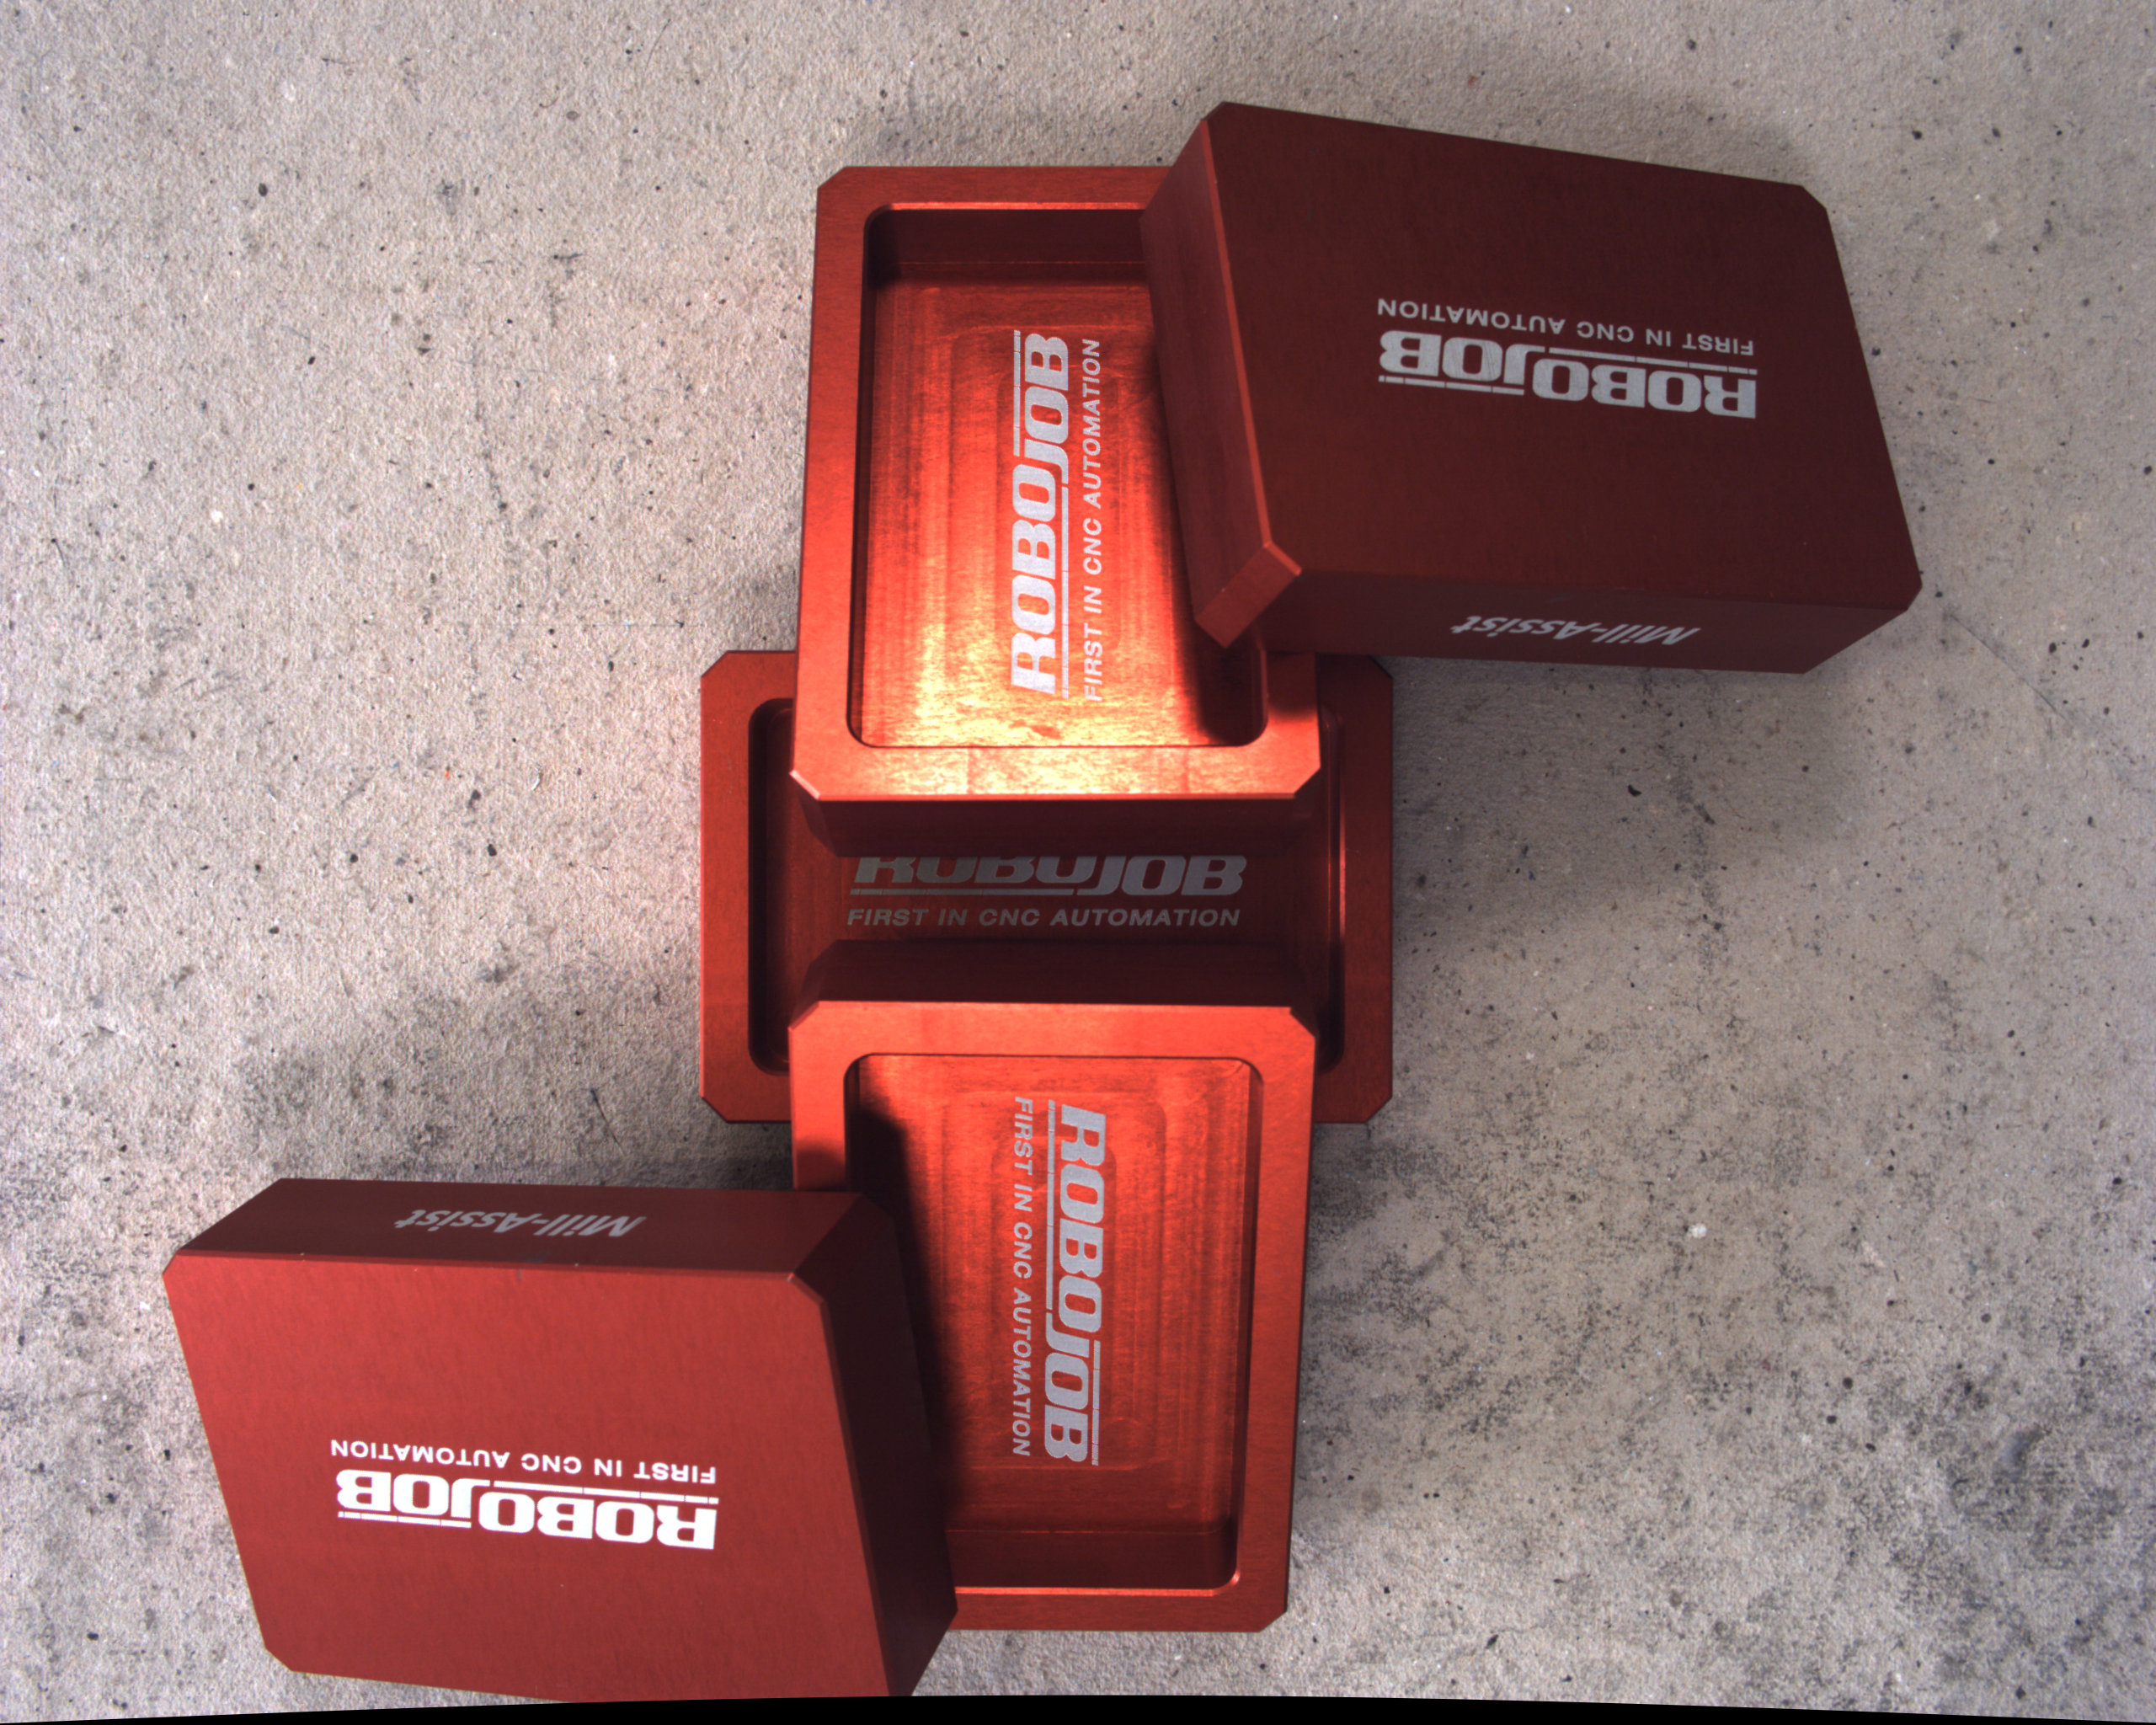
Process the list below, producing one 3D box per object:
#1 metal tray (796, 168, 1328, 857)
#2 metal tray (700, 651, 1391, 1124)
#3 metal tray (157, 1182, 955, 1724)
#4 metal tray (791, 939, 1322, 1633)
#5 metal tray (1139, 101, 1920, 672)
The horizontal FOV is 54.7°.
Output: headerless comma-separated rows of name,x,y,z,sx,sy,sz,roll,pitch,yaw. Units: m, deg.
metal tray,-0.003,-0.067,0.388,0.091,0.030,0.130,0,70,-1
metal tray,-0.006,0.005,0.409,0.131,0.030,0.089,0,90,0
metal tray,-0.094,0.105,0.378,0.130,0.030,0.089,-2,107,17
metal tray,-0.004,0.080,0.388,0.091,0.030,0.129,1,109,0
metal tray,0.081,-0.083,0.377,0.131,0.030,0.090,0,71,-21
